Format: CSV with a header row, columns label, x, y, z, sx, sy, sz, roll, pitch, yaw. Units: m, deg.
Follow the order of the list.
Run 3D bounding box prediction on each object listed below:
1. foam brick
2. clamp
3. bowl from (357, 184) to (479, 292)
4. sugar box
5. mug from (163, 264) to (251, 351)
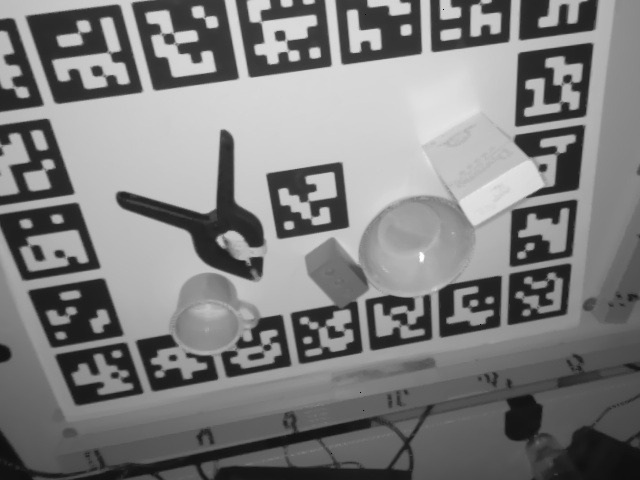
label,x,y,z,sx,sy,sz,roll,pitch,yaw
foam brick,0.013,0.027,0.937,0.052,0.051,0.078,-34,115,9
clamp,-0.135,-0.038,0.876,0.165,0.037,0.203,-31,116,5
bowl,0.126,-0.012,0.925,0.162,0.055,0.160,-3,117,-6
sugar box,0.188,-0.112,0.815,0.092,0.177,0.045,-31,115,10
mug,-0.148,0.088,0.917,0.118,0.082,0.092,15,114,-12
